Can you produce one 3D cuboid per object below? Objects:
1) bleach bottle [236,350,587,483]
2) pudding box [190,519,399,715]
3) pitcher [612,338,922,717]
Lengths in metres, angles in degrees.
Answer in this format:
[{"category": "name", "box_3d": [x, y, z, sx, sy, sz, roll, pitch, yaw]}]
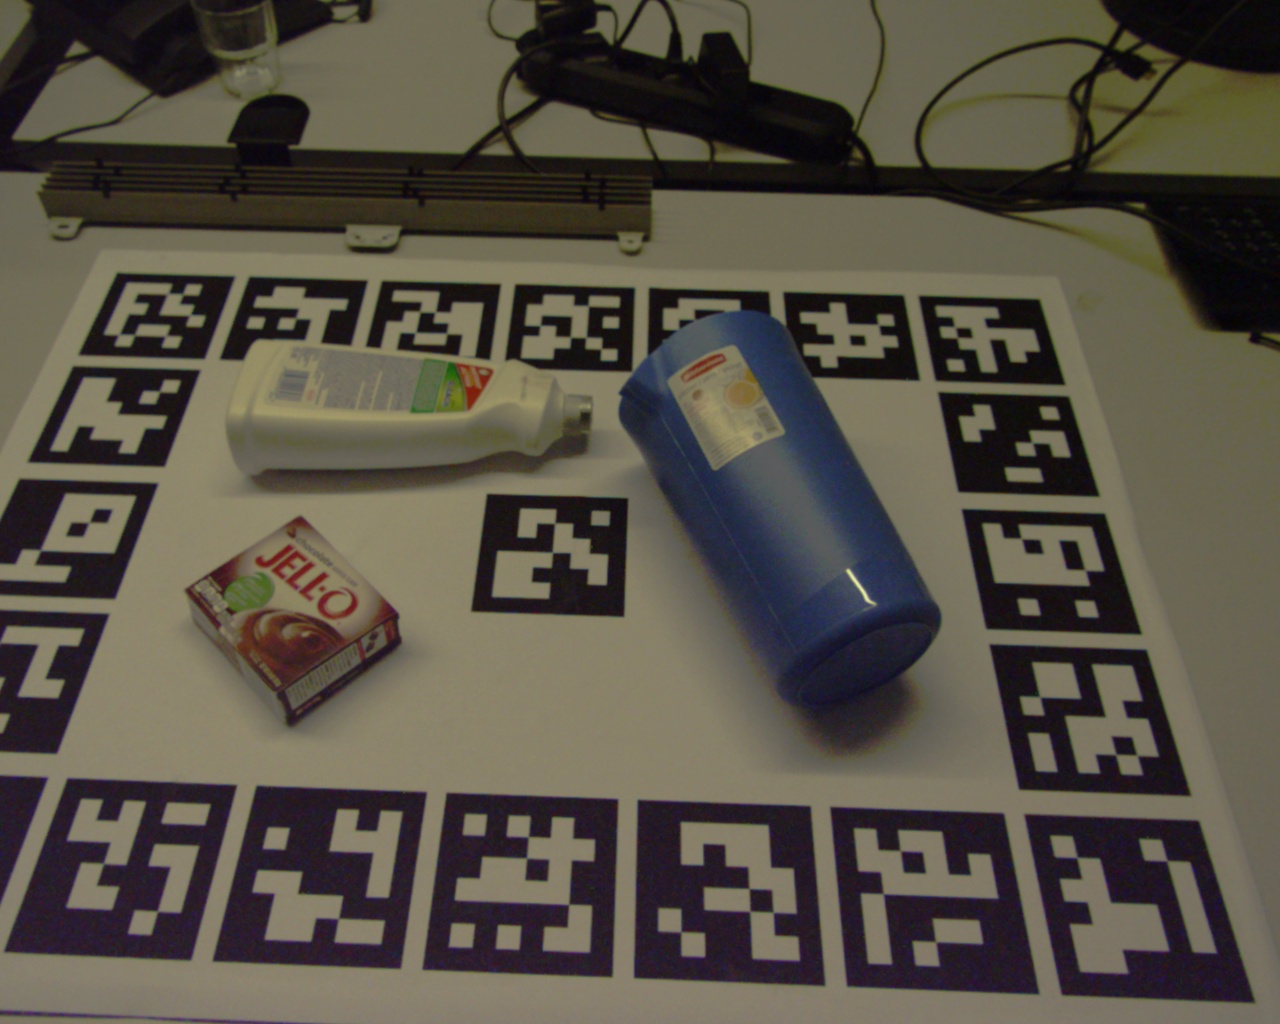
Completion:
[{"category": "bleach bottle", "box_3d": [-0.166, -0.072, 0.859, 0.250, 0.068, 0.103, 0, 57, -3]}, {"category": "pudding box", "box_3d": [-0.229, 0.068, 0.758, 0.089, 0.038, 0.115, -33, 61, -30]}, {"category": "pitcher", "box_3d": [0.093, 0.011, 0.778, 0.186, 0.134, 0.244, 5, 48, -43]}]
